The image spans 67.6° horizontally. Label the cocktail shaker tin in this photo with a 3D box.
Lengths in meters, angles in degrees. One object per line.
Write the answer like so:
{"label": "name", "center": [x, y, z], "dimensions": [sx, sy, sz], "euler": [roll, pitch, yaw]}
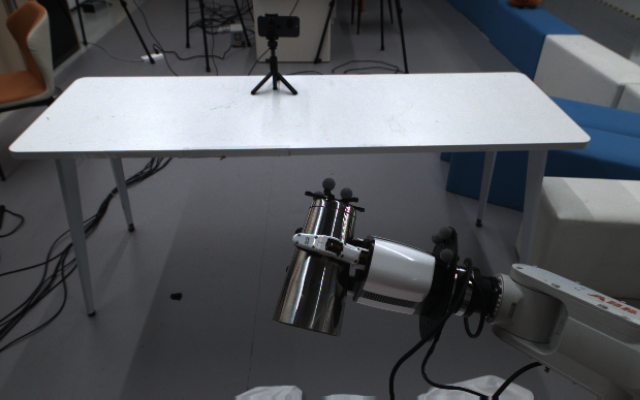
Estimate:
{"label": "cocktail shaker tin", "center": [0.000, 0.090, 0.657], "dimensions": [0.093, 0.093, 0.170], "euler": [11, 74, 12]}
